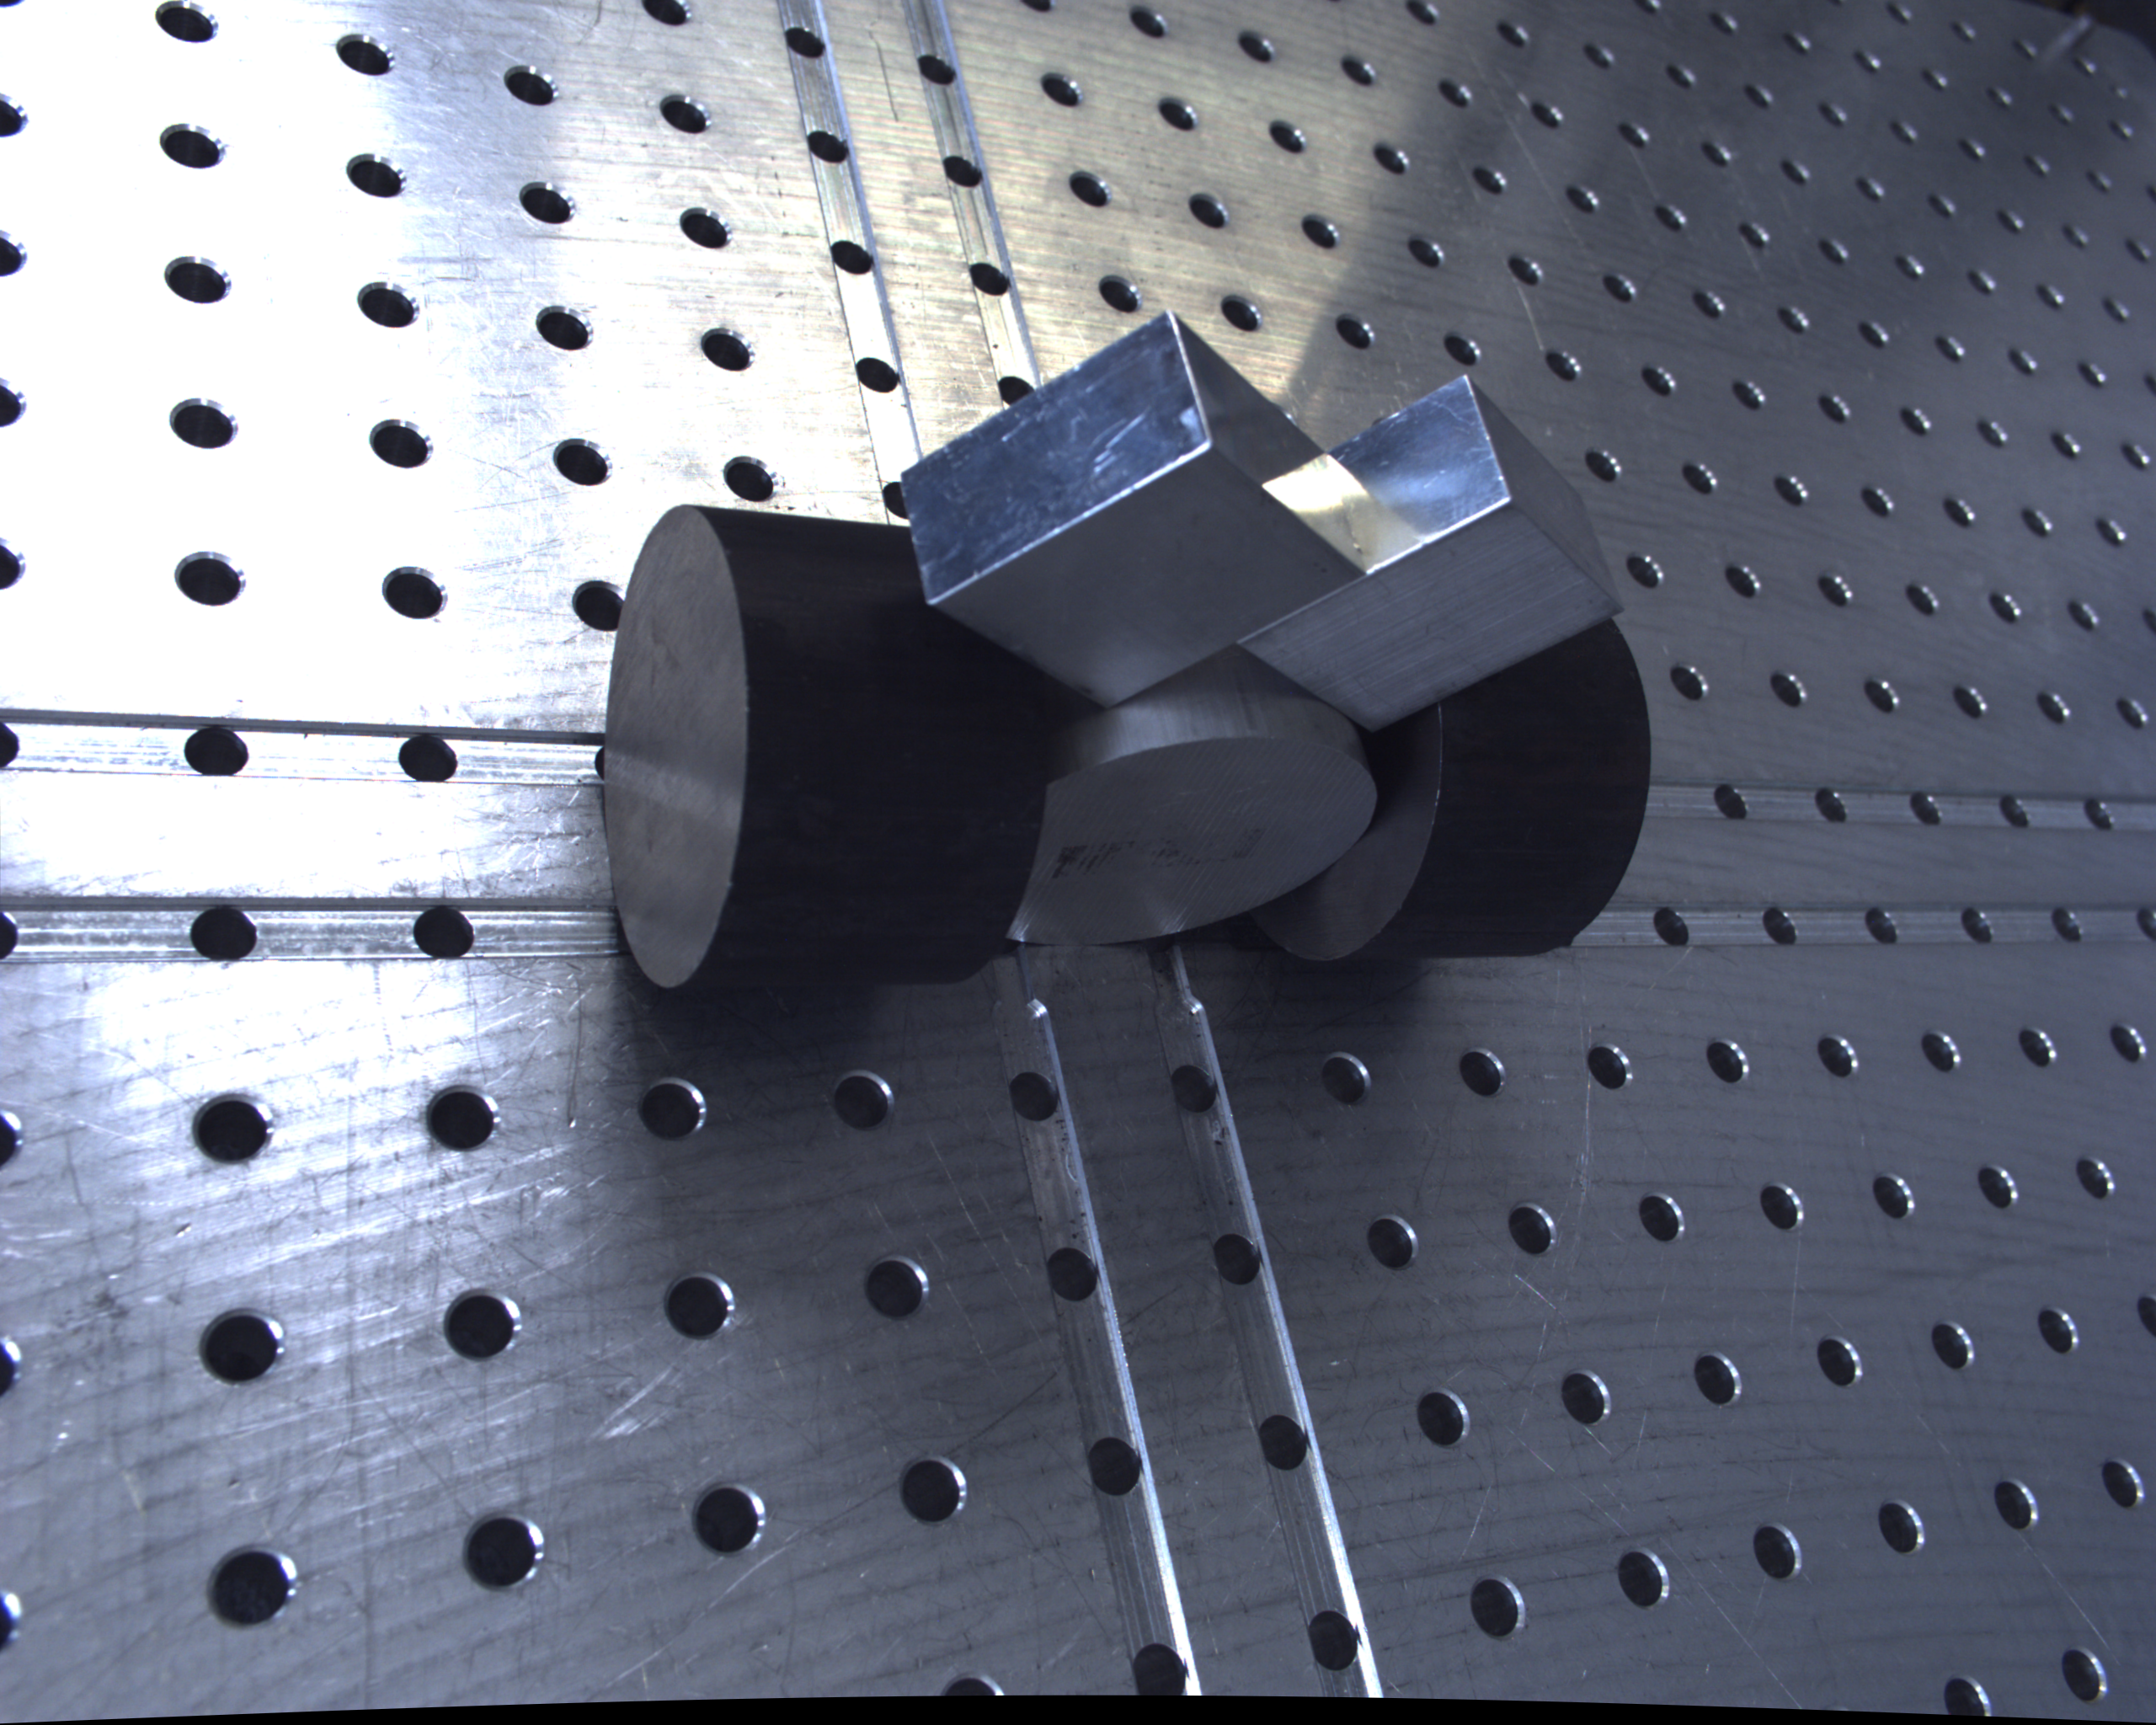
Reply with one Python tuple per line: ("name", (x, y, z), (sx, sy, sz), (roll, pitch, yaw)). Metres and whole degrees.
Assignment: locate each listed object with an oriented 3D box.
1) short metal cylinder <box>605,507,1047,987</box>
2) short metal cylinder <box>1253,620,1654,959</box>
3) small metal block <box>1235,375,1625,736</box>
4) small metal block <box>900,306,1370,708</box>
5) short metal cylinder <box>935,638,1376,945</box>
("short metal cylinder", (-0.046, -0.019, 0.359), (0.050, 0.080, 0.080), (1, 61, -28))
("short metal cylinder", (0.069, -0.021, 0.422), (0.050, 0.080, 0.080), (0, 62, -27))
("small metal block", (0.057, -0.050, 0.355), (0.050, 0.050, 0.025), (24, 46, -53))
("small metal block", (0.009, -0.053, 0.325), (0.050, 0.050, 0.025), (25, 45, -54))
("short metal cylinder", (0.010, -0.024, 0.393), (0.081, 0.080, 0.050), (1, 62, -28))
